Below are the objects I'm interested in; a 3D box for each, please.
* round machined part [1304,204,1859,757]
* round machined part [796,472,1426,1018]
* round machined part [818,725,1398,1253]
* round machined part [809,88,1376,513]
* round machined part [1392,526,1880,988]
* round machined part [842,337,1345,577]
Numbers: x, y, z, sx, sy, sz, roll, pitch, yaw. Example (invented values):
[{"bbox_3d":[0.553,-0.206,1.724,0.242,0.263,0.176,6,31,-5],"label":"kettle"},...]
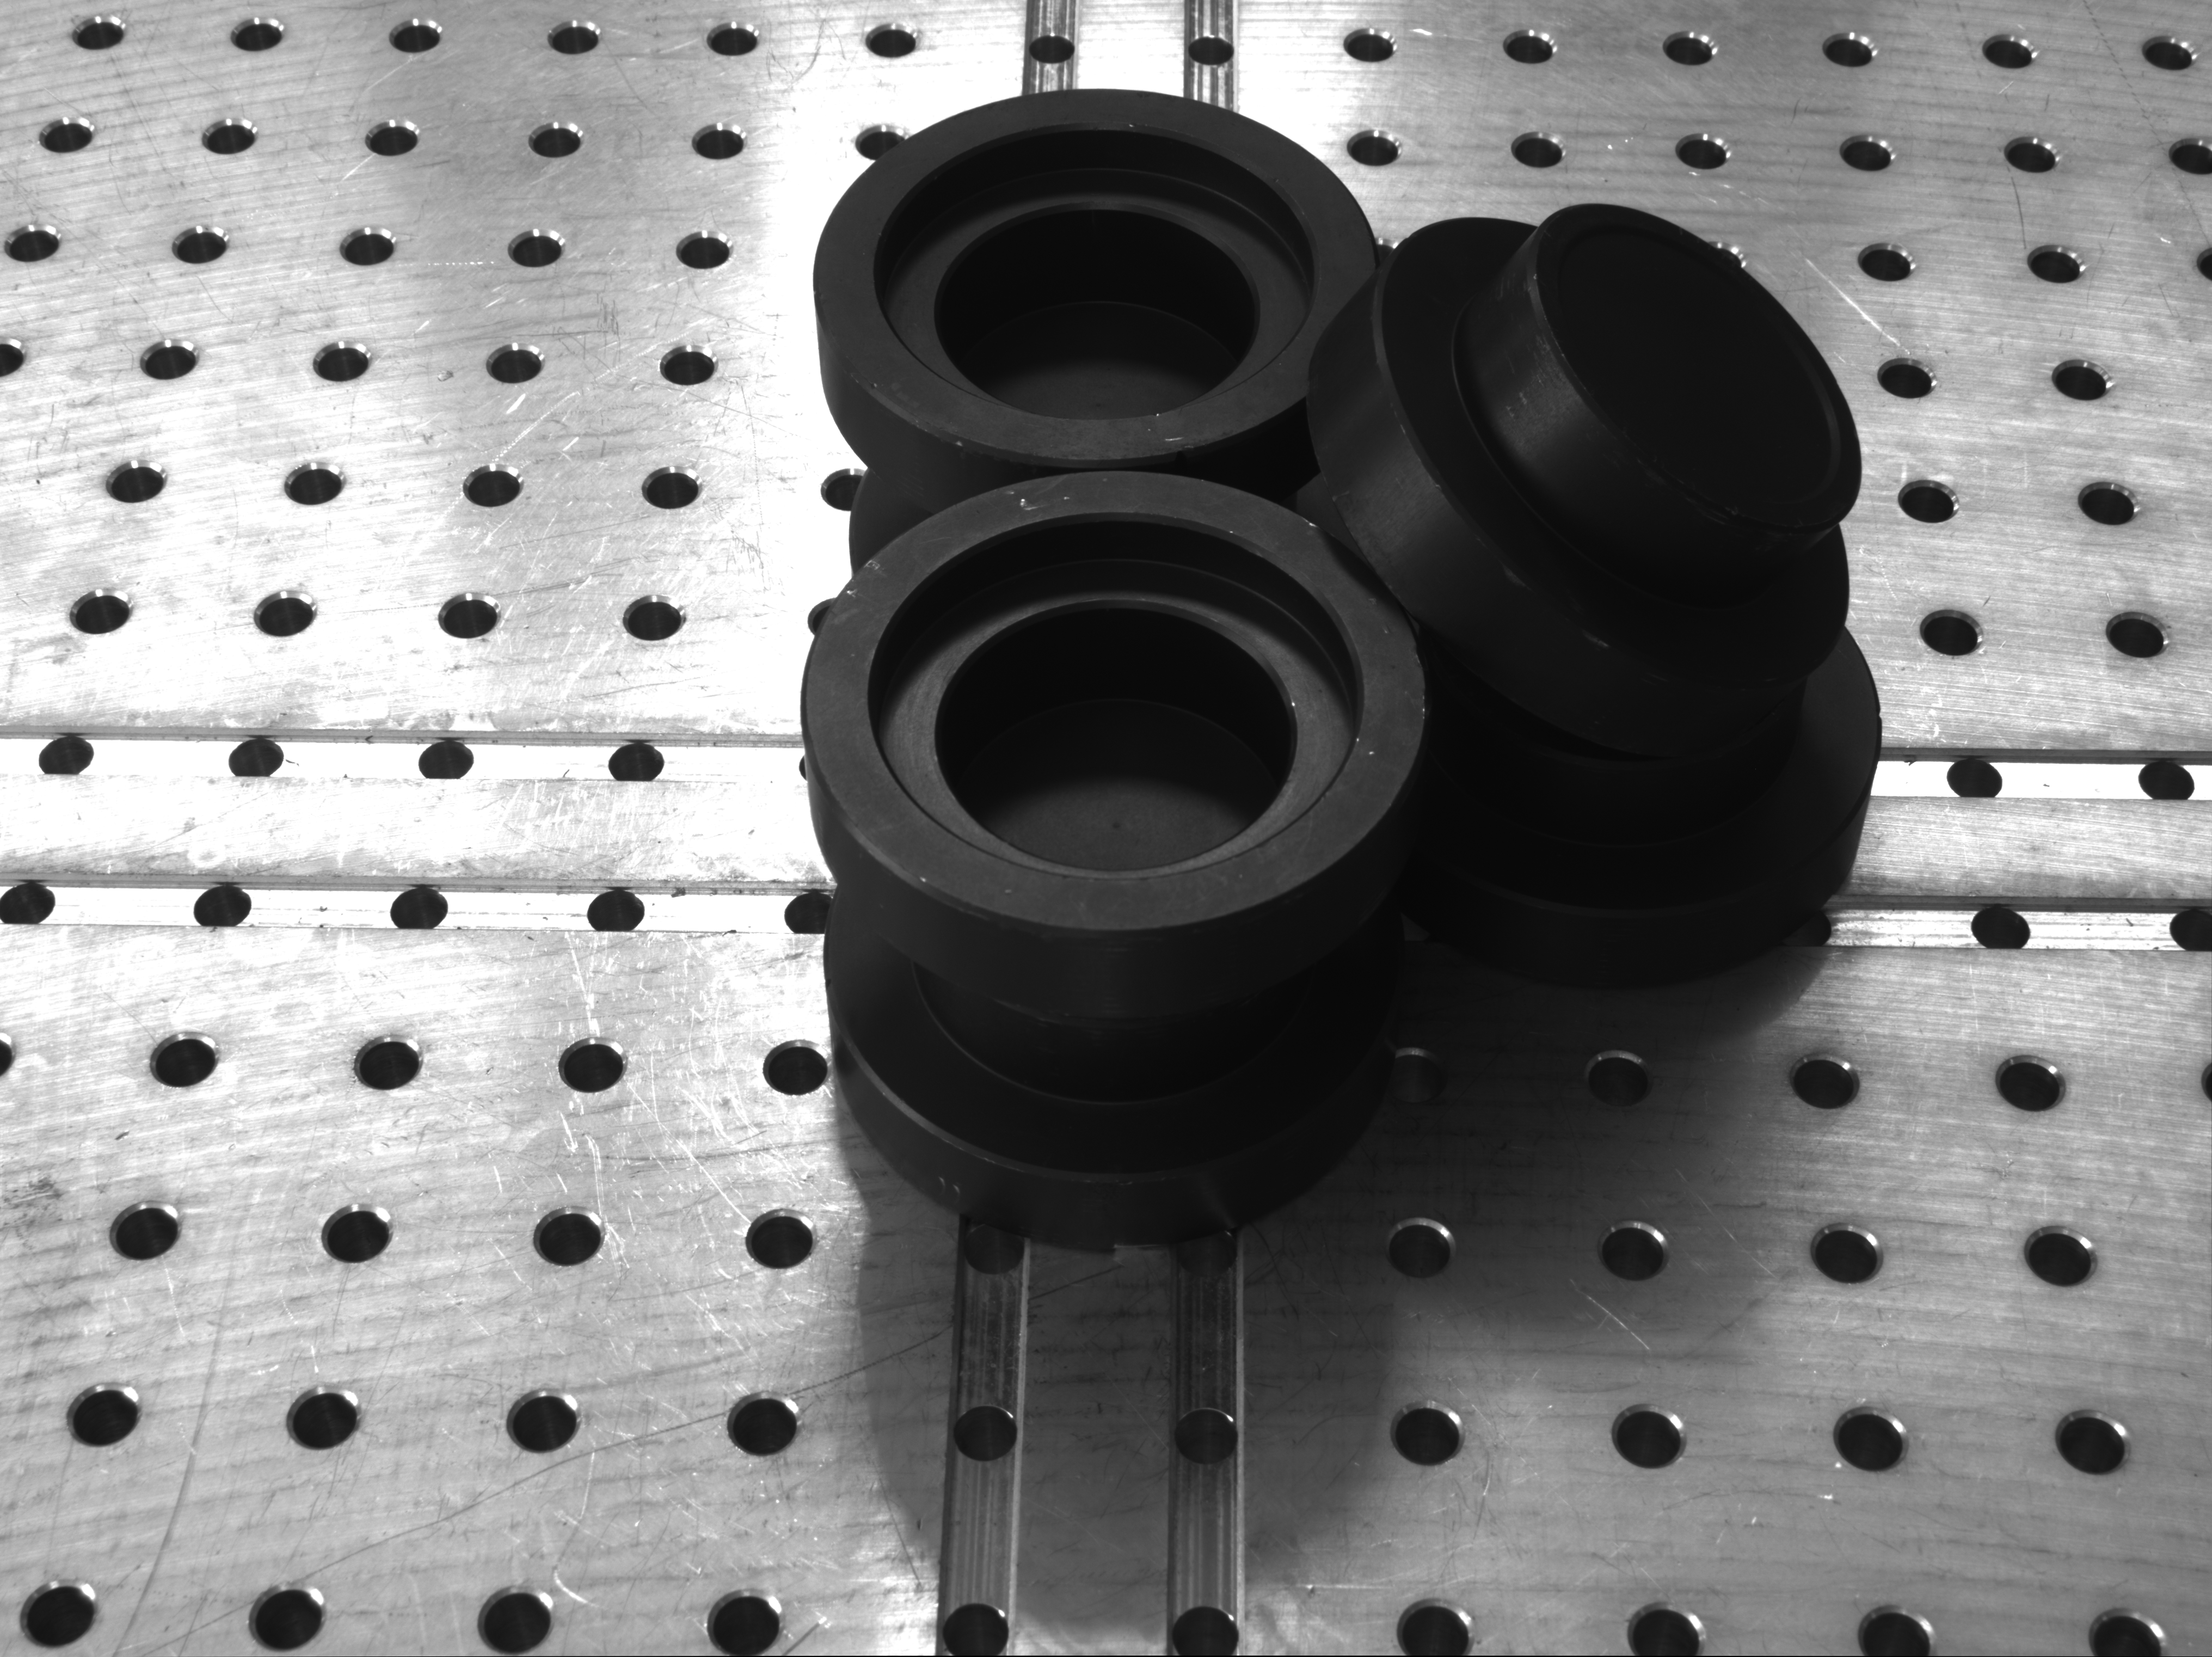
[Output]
[{"bbox_3d":[0.084,-0.064,0.605,0.098,0.042,0.098,22,45,-24],"label":"round machined part"},{"bbox_3d":[0.001,-0.008,0.586,0.098,0.042,0.098,0,50,0],"label":"round machined part"},{"bbox_3d":[0.000,0.019,0.619,0.098,0.042,0.098,0,50,0],"label":"round machined part"},{"bbox_3d":[-0.002,-0.084,0.650,0.098,0.042,0.098,0,50,0],"label":"round machined part"},{"bbox_3d":[0.089,-0.023,0.654,0.098,0.042,0.098,0,50,0],"label":"round machined part"},{"bbox_3d":[0.000,-0.056,0.683,0.098,0.042,0.098,0,50,0],"label":"round machined part"}]
